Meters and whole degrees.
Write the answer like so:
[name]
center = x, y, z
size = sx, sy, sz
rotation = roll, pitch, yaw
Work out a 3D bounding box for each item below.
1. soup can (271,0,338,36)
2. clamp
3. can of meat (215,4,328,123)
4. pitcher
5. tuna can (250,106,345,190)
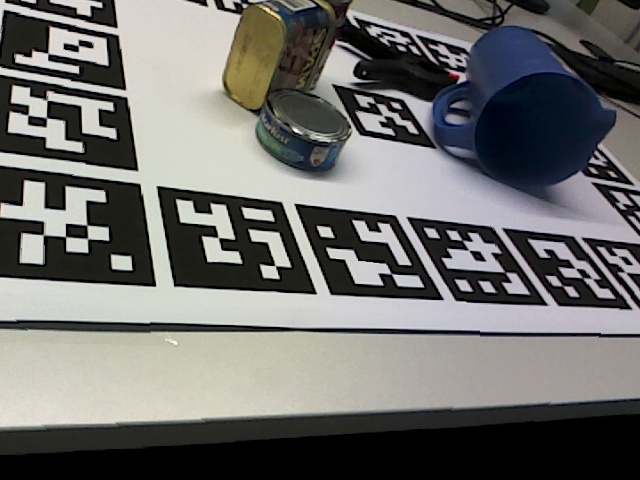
[soup can]
center = -0.029, -0.213, 0.674
size = 0.067, 0.102, 0.068
rotation = 14, 41, -13
[clamp]
center = 0.077, -0.215, 0.809
size = 0.164, 0.036, 0.122
rotation = 8, 37, -28
[can of meat]
center = -0.049, -0.171, 0.605
size = 0.058, 0.102, 0.083
rotation = 40, 42, 14
[pitcher]
center = 0.231, -0.173, 0.750
size = 0.189, 0.133, 0.243
rotation = 1, 32, 2
[tuna can]
center = -0.022, -0.087, 0.582
size = 0.085, 0.034, 0.086
rotation = 16, 40, -15
